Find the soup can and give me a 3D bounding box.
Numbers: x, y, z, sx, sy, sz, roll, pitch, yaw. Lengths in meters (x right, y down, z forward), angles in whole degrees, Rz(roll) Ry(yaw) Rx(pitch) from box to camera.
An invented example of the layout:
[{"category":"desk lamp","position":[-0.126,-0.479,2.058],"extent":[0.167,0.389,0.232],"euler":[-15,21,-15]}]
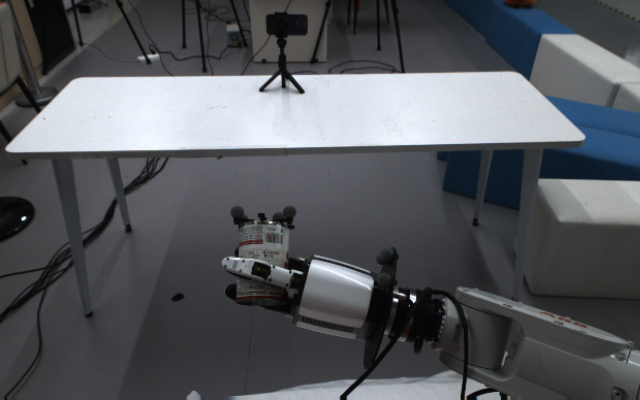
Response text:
[{"category":"soup can","position":[-0.073,0.085,0.631],"extent":[0.067,0.067,0.101],"euler":[1,73,-2]}]
